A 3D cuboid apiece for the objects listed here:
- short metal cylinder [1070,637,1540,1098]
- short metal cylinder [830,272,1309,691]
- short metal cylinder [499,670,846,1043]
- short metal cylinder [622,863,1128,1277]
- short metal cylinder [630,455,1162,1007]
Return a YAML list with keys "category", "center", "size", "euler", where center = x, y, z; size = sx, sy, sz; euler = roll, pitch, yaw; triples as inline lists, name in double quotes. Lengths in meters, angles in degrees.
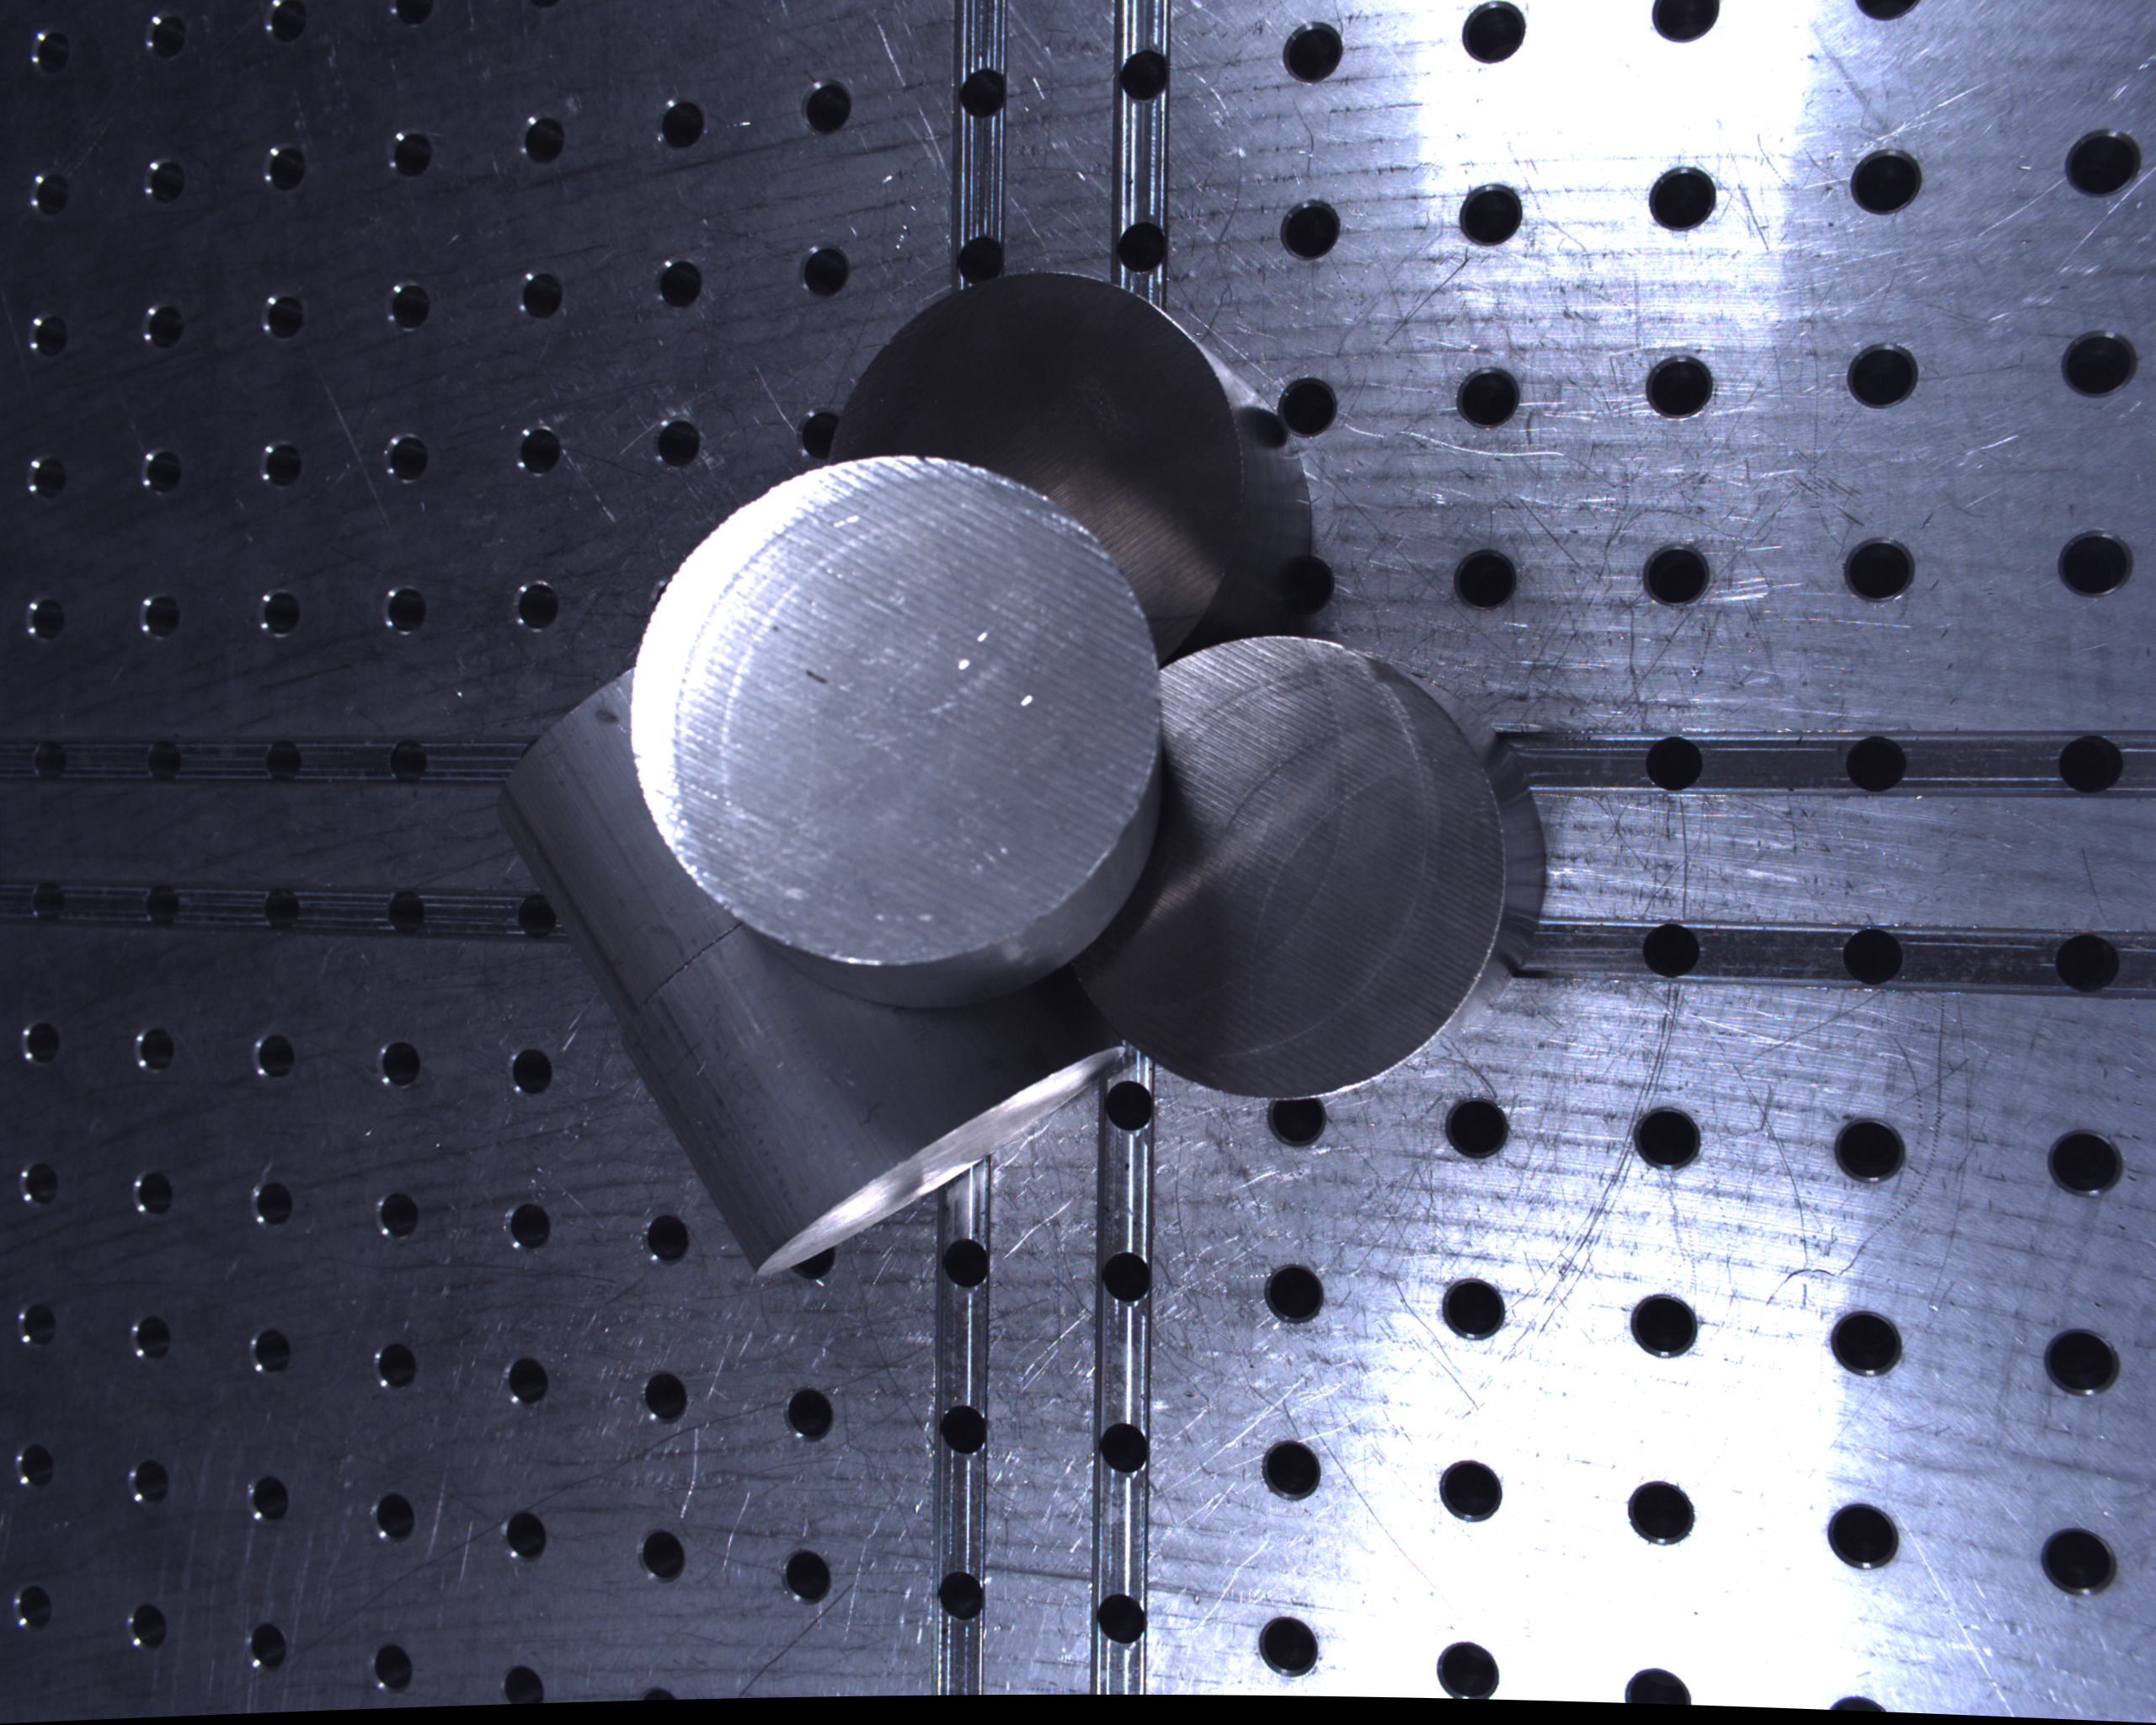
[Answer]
- category: "short metal cylinder"
  center: [0.042, 0.001, 0.383]
  size: [0.080, 0.050, 0.079]
  euler: [0, 90, 19]
- category: "short metal cylinder"
  center: [-0.001, -0.066, 0.398]
  size: [0.080, 0.050, 0.079]
  euler: [0, 90, 19]
- category: "short metal cylinder"
  center: [-0.063, -0.007, 0.405]
  size: [0.080, 0.080, 0.050]
  euler: [-35, 79, 16]
- category: "short metal cylinder"
  center: [-0.038, 0.036, 0.395]
  size: [0.080, 0.080, 0.050]
  euler: [-35, 79, 16]
- category: "short metal cylinder"
  center: [-0.027, -0.019, 0.339]
  size: [0.081, 0.050, 0.080]
  euler: [0, 78, 2]
